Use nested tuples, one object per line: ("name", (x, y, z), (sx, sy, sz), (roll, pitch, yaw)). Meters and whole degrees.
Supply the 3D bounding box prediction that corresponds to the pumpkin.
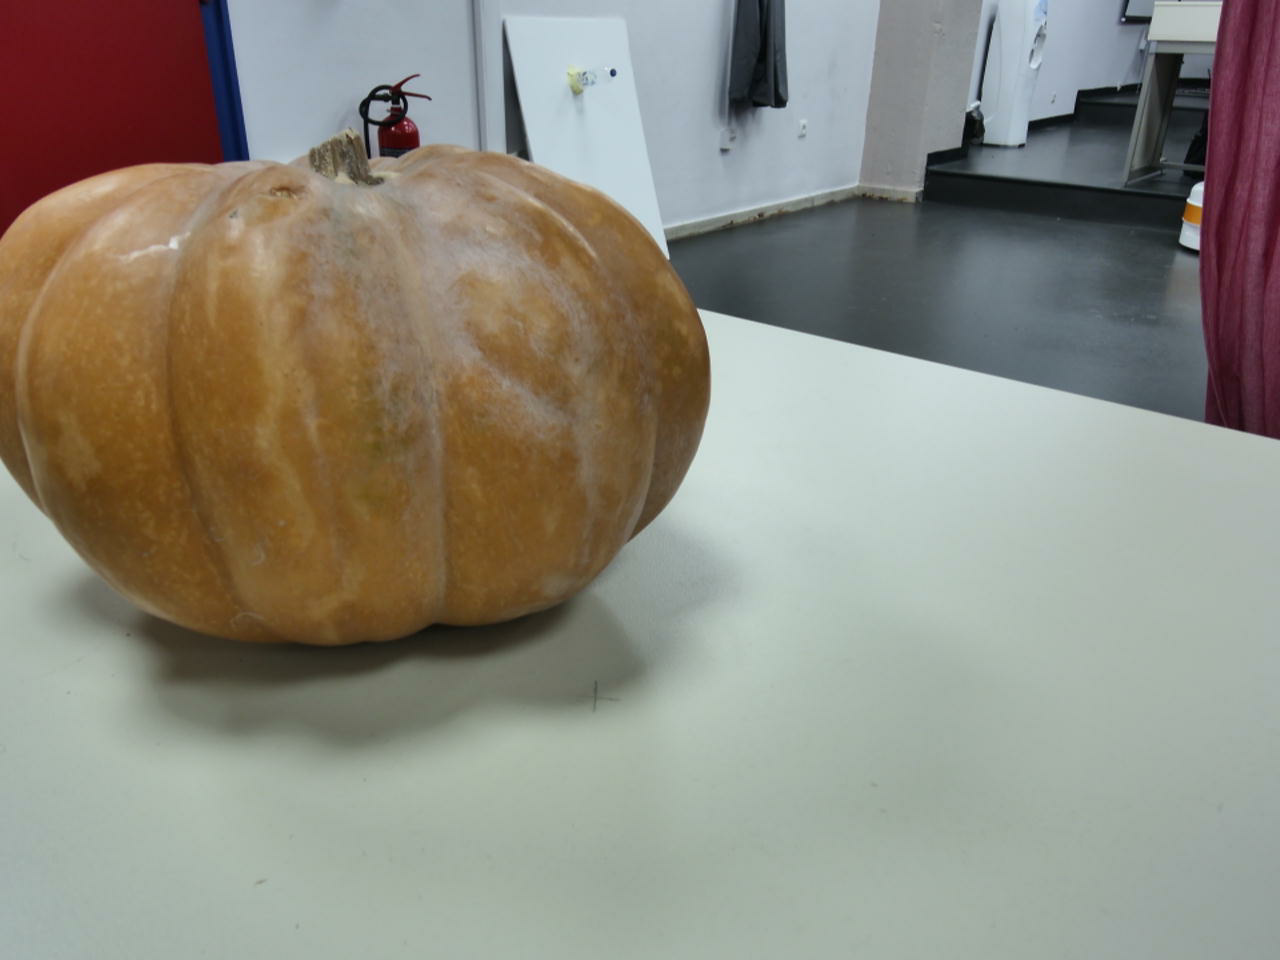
("pumpkin", (-0.110, -0.043, 0.400), (0.277, 0.181, 0.277), (0, 23, 0))
